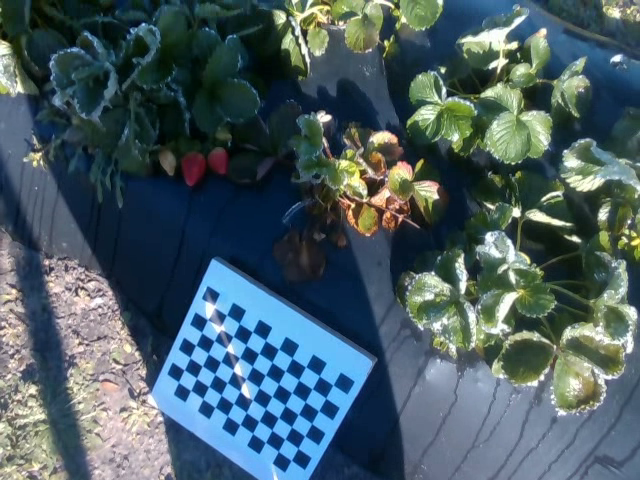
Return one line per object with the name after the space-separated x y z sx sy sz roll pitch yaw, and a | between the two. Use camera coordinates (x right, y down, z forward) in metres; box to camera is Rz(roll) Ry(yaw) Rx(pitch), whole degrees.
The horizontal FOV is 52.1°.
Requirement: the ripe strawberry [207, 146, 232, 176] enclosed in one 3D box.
-0.140 -0.106 0.897 0.036 0.041 0.030 -34 -8 21 | ripe strawberry

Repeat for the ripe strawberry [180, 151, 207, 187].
-0.177 -0.091 0.894 0.036 0.052 0.040 -8 -30 19 | ripe strawberry
